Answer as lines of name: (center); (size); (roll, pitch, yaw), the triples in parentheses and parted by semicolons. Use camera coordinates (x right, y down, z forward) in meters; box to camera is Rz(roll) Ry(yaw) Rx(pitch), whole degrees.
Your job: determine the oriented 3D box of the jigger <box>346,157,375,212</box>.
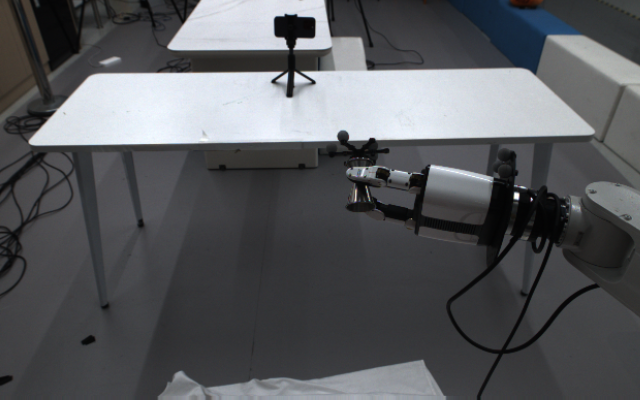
jigger: (0.056, -0.024, 0.687); (0.043, 0.043, 0.071); (1, 70, -2)
